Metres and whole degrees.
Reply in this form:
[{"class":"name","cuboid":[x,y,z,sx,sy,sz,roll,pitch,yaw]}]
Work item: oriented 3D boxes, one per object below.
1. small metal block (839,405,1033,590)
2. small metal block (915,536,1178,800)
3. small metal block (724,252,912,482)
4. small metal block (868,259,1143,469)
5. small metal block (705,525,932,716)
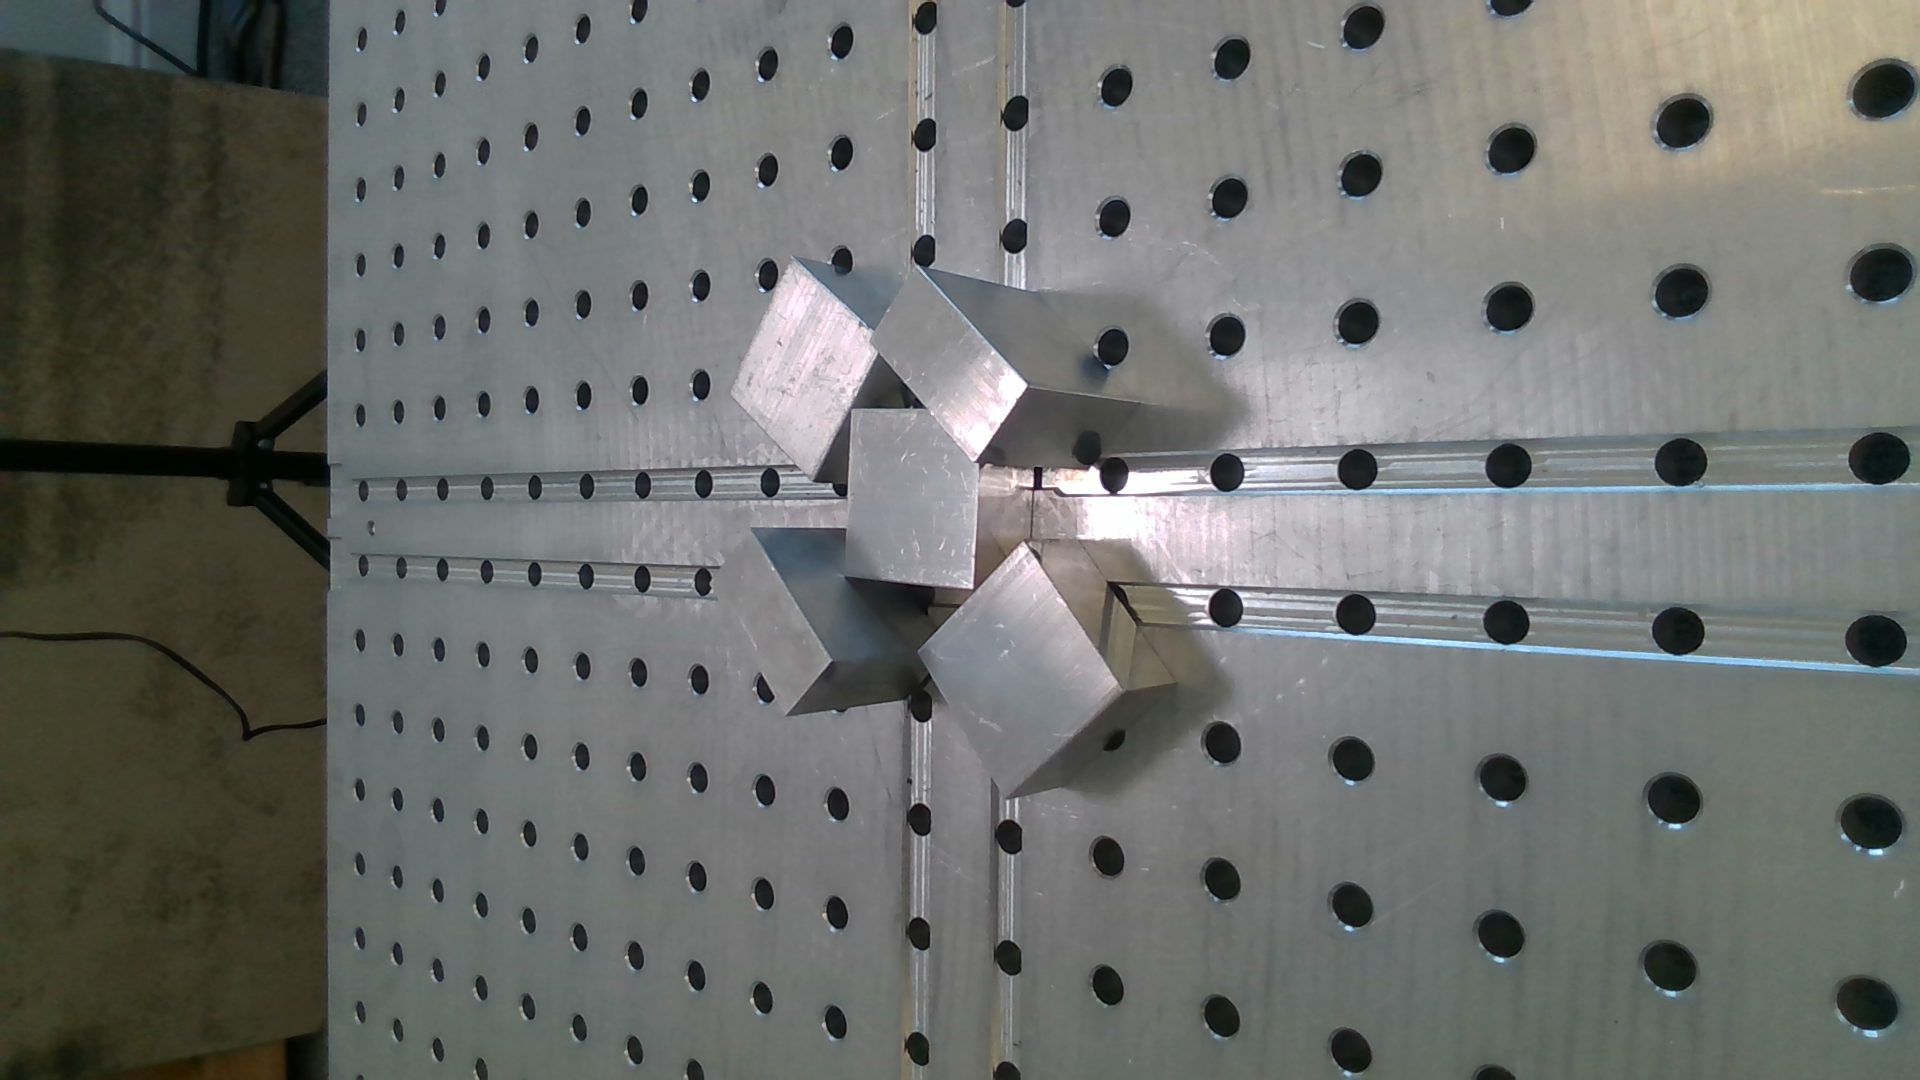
[{"class":"small metal block","cuboid":[-0.007,-0.013,0.398,0.050,0.025,0.050,4,92,39]},{"class":"small metal block","cuboid":[0.022,0.034,0.375,0.050,0.025,0.050,-48,61,30]},{"class":"small metal block","cuboid":[-0.041,-0.053,0.427,0.050,0.025,0.050,45,118,30]},{"class":"small metal block","cuboid":[0.012,-0.046,0.366,0.050,0.050,0.025,52,121,28]},{"class":"small metal block","cuboid":[-0.039,0.023,0.410,0.025,0.050,0.050,-50,61,28]}]
